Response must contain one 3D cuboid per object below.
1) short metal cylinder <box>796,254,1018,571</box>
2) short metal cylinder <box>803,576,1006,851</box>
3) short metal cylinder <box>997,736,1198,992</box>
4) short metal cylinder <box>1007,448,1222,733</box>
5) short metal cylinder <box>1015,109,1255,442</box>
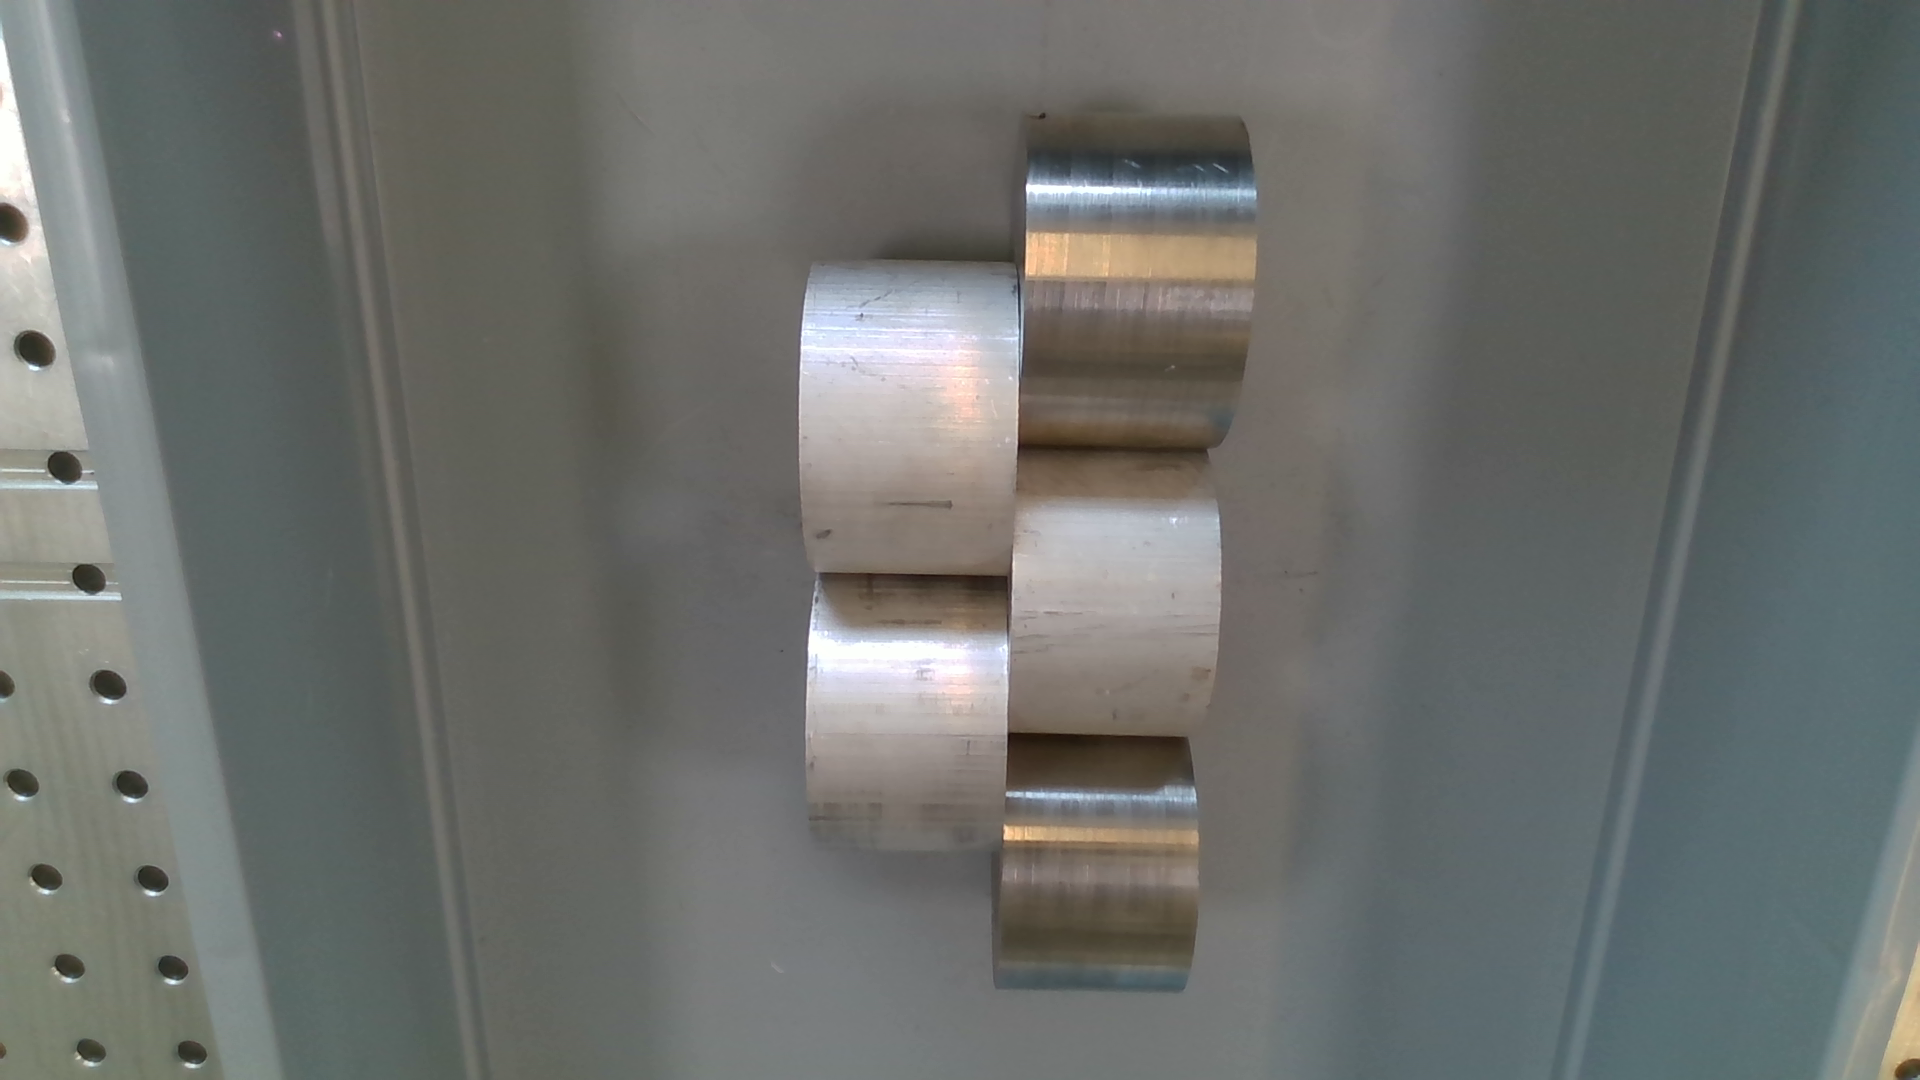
[{"bbox_3d":[-0.012,-0.032,0.351,0.050,0.080,0.080,1,110,0],"label":"short metal cylinder"},{"bbox_3d":[-0.014,0.045,0.379,0.050,0.080,0.080,1,110,0],"label":"short metal cylinder"},{"bbox_3d":[0.036,0.087,0.395,0.050,0.080,0.080,2,110,-1],"label":"short metal cylinder"},{"bbox_3d":[0.037,0.011,0.367,0.050,0.080,0.080,1,110,0],"label":"short metal cylinder"},{"bbox_3d":[0.039,-0.064,0.339,0.050,0.080,0.080,1,110,0],"label":"short metal cylinder"}]
